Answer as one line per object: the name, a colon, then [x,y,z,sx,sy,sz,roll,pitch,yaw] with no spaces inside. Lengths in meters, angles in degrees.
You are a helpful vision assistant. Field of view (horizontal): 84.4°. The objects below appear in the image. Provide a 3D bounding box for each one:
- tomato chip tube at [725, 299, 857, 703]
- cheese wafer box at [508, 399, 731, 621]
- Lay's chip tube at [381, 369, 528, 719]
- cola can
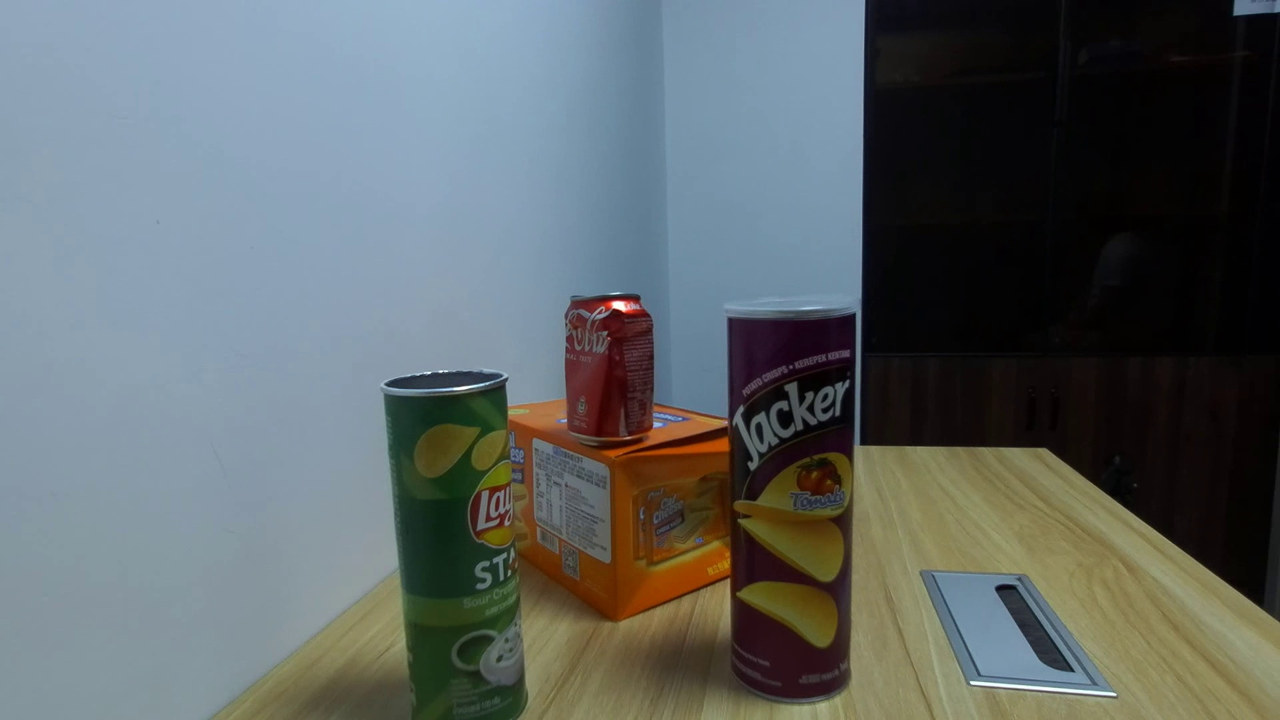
tomato chip tube: [0.094,0.083,0.436,0.078,0.233,0.078,-2,8,1]
cheese wafer box: [-0.022,0.110,0.635,0.150,0.137,0.226,-7,9,-36]
Lay's chip tube: [-0.105,0.109,0.414,0.071,0.202,0.071,-2,8,1]
cola can: [-0.024,0.005,0.535,0.066,0.112,0.069,-5,9,-17]
